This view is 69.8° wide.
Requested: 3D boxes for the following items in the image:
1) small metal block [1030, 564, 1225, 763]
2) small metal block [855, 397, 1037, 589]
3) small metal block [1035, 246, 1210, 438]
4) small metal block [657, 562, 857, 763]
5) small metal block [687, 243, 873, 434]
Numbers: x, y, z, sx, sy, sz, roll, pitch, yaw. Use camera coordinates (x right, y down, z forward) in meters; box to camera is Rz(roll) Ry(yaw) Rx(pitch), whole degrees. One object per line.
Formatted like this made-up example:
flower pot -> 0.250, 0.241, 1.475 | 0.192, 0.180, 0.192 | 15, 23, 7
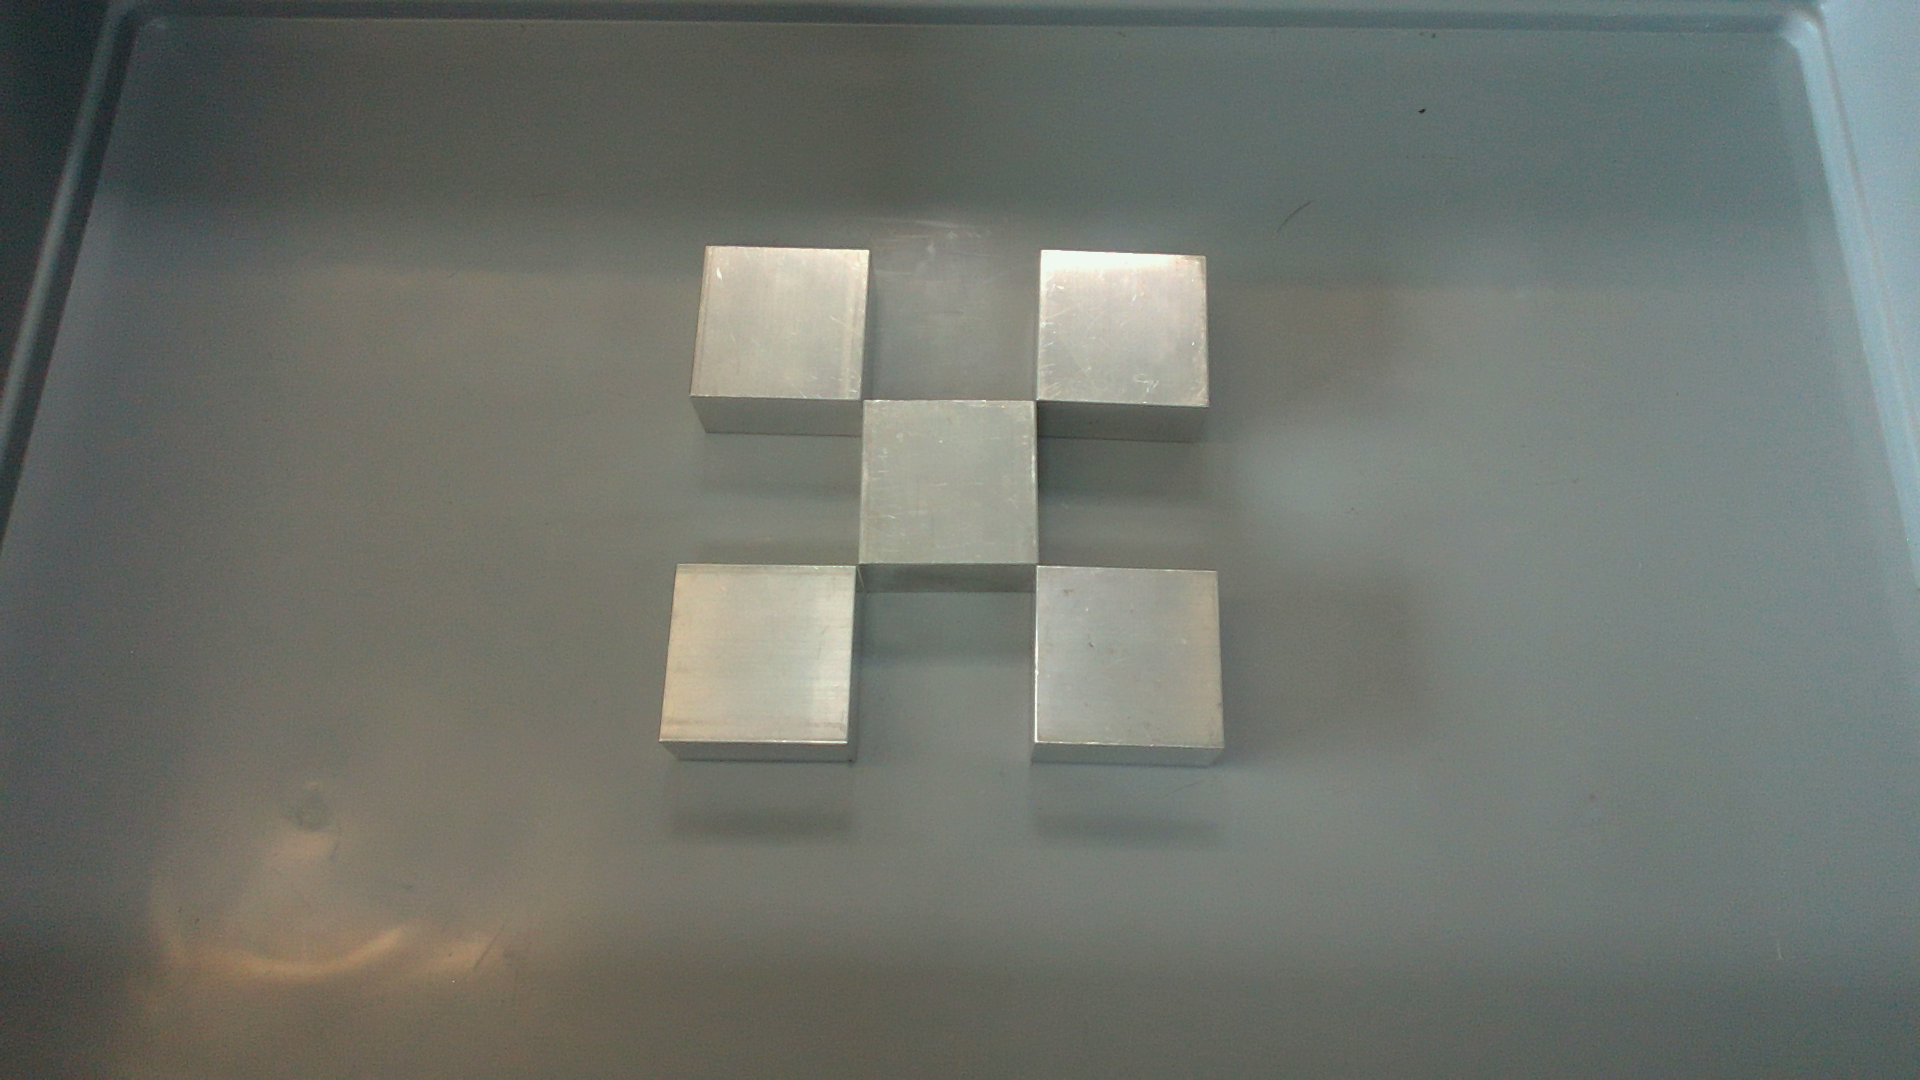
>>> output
small metal block -> 0.045, 0.035, 0.380 | 0.050, 0.025, 0.050 | 1, 70, 0
small metal block -> -0.004, -0.013, 0.397 | 0.050, 0.025, 0.050 | 0, 70, 0
small metal block -> 0.048, -0.059, 0.414 | 0.050, 0.025, 0.050 | 2, 70, 1
small metal block -> -0.054, 0.034, 0.380 | 0.050, 0.025, 0.050 | 1, 70, 0
small metal block -> -0.053, -0.060, 0.415 | 0.050, 0.025, 0.050 | 2, 70, 0
